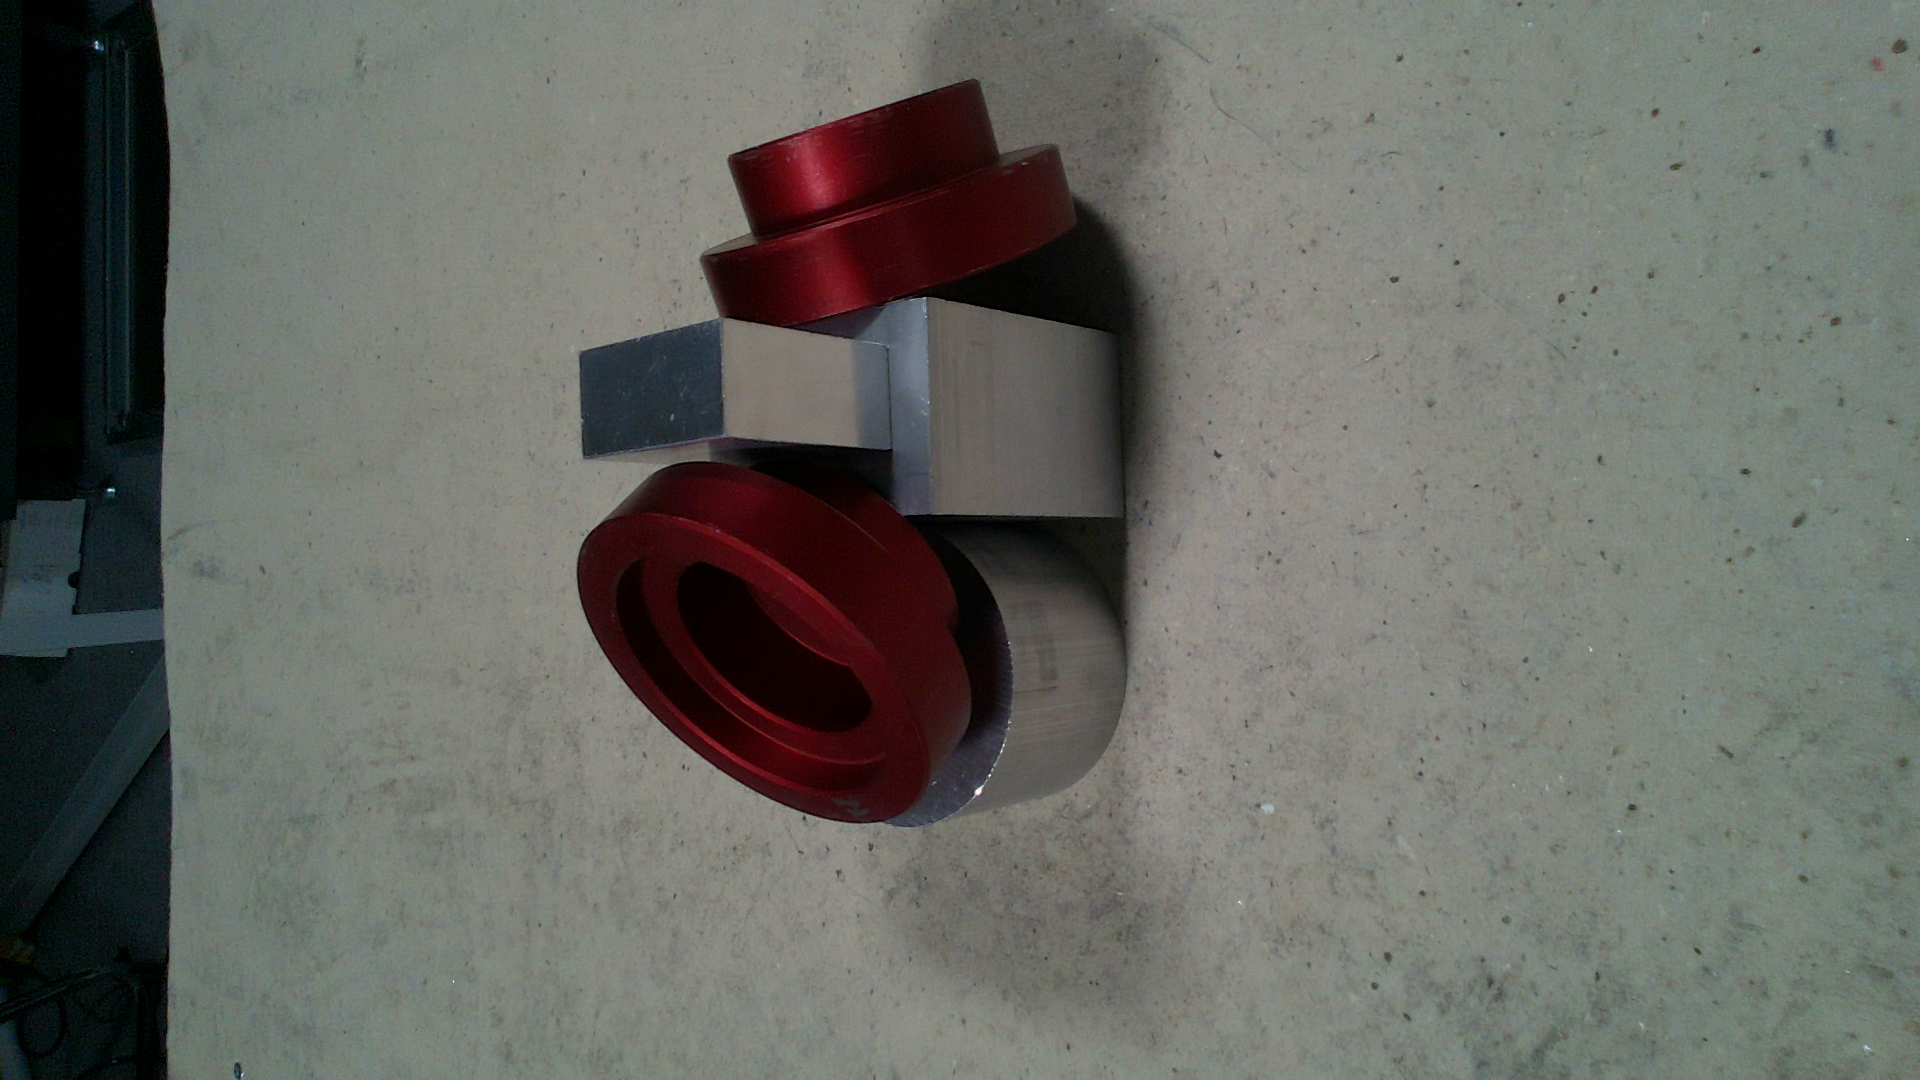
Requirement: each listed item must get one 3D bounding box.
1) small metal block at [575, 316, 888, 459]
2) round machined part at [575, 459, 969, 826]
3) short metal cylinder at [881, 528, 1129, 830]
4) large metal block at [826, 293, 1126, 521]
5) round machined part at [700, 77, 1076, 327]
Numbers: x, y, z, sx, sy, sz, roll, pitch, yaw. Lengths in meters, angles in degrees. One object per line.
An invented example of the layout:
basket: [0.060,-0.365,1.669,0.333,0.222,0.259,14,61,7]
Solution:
small metal block: [-0.052,-0.032,0.317,0.050,0.050,0.025,-4,87,40]
round machined part: [-0.040,0.020,0.331,0.098,0.042,0.098,22,140,20]
short metal cylinder: [-0.001,0.036,0.381,0.080,0.050,0.080,0,90,40]
large metal block: [-0.012,-0.030,0.368,0.080,0.080,0.050,-3,88,40]
round machined part: [-0.022,-0.090,0.361,0.098,0.098,0.042,-3,113,40]
